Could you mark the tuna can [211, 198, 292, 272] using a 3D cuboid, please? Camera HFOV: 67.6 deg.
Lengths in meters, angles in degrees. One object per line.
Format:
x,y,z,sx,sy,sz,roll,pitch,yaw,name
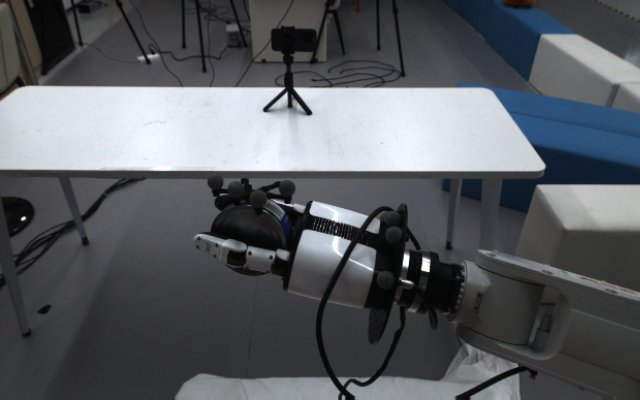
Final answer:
-0.072,0.038,0.534,0.085,0.085,0.034,9,23,10,tuna can
